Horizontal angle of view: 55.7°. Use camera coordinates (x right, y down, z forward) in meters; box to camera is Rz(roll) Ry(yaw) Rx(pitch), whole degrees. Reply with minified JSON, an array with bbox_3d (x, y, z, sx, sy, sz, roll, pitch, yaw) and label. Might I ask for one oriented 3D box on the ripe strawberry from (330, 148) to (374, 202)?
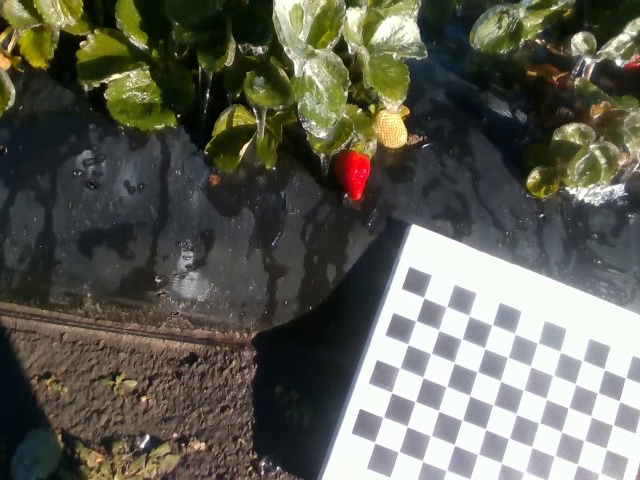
[{"bbox_3d":[0.036,-0.065,0.586,0.041,0.052,0.040,5,-17,-8],"label":"ripe strawberry"}]
